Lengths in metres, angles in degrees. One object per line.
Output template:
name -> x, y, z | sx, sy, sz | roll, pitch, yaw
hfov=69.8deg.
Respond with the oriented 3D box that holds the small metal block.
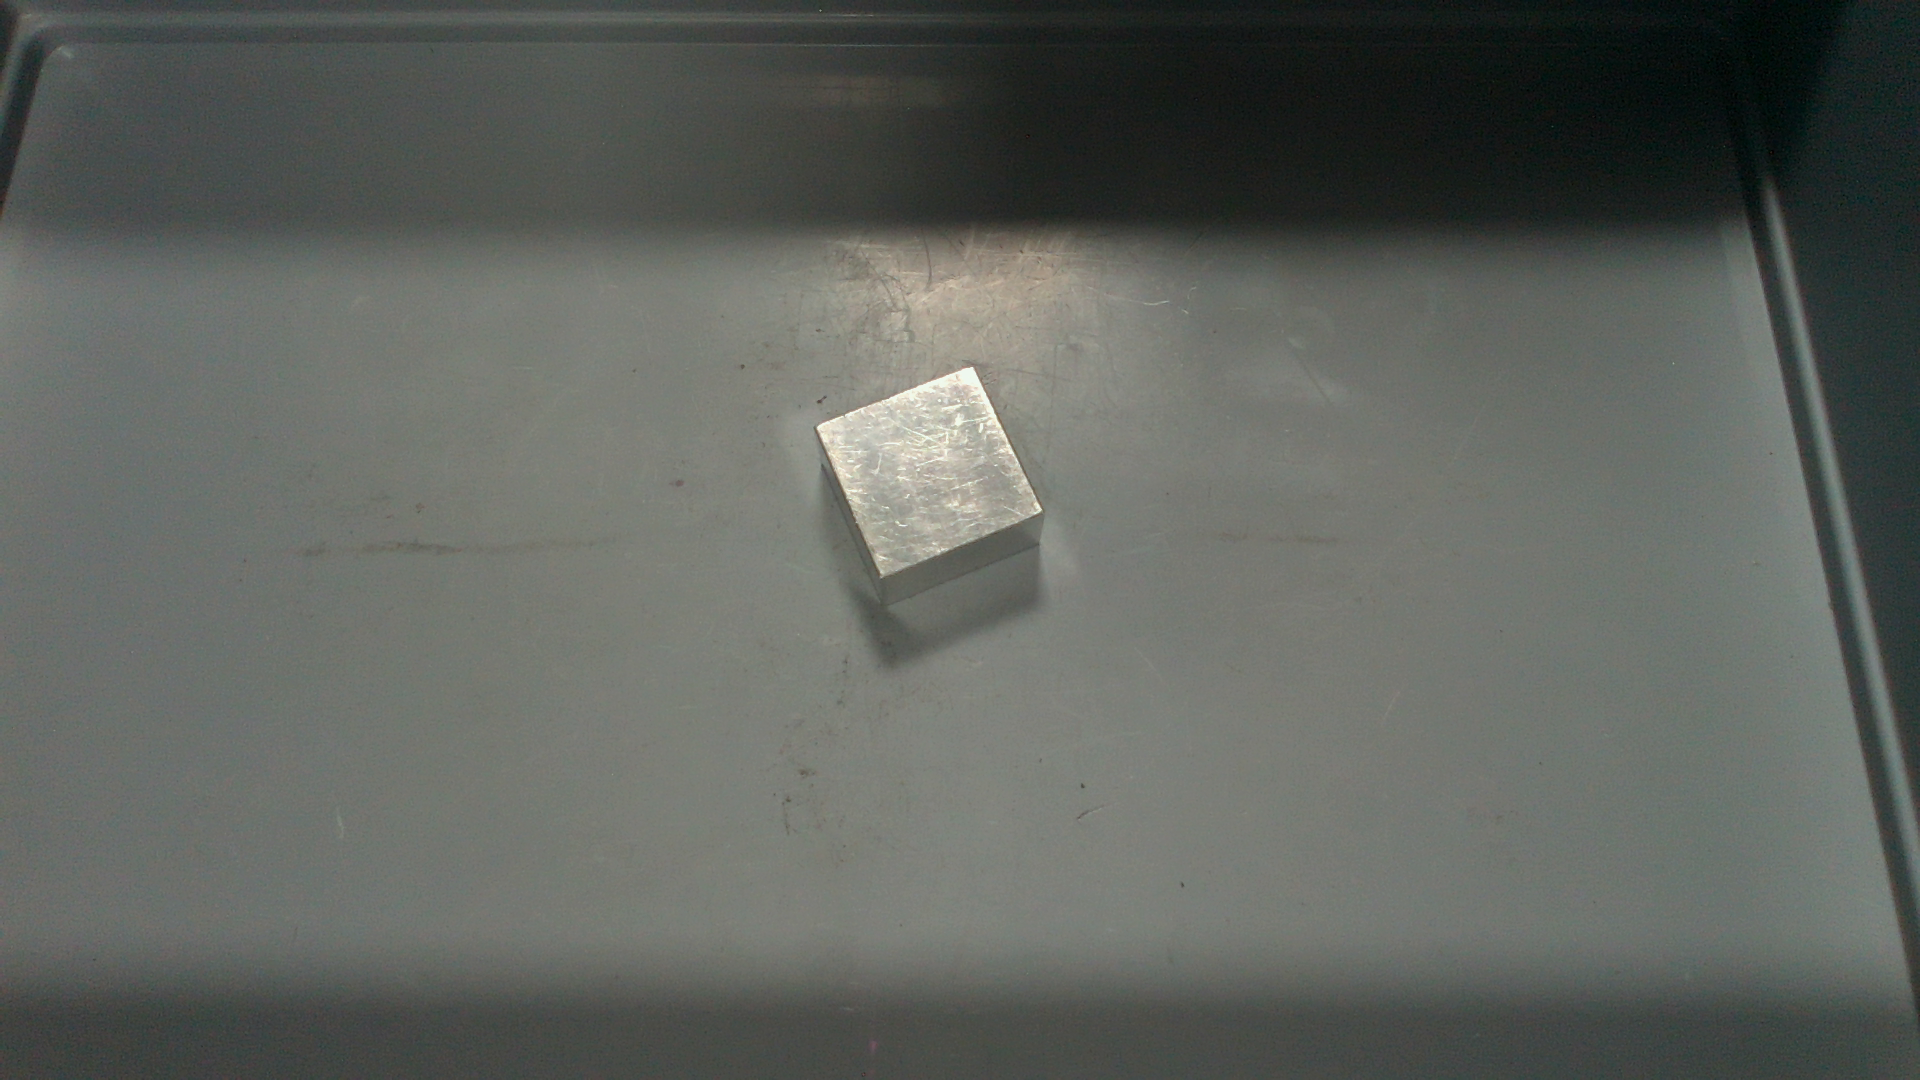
small metal block -> -0.009, -0.016, 0.397 | 0.050, 0.025, 0.050 | -22, 71, -8
